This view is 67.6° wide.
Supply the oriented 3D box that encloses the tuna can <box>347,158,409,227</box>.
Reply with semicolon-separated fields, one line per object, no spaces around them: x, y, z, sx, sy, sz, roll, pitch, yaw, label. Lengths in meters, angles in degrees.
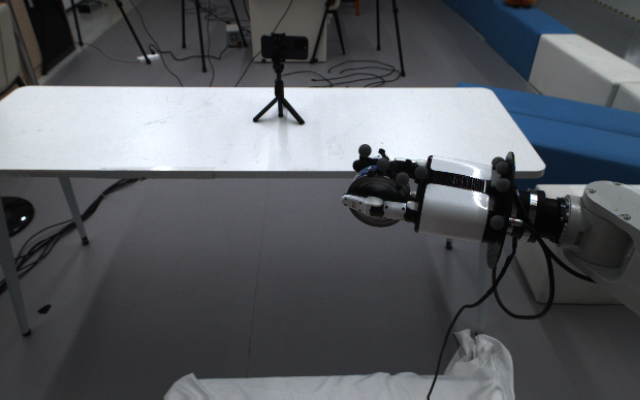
0.085;-0.008;0.681;0.085;0.085;0.034;12;33;14;tuna can
